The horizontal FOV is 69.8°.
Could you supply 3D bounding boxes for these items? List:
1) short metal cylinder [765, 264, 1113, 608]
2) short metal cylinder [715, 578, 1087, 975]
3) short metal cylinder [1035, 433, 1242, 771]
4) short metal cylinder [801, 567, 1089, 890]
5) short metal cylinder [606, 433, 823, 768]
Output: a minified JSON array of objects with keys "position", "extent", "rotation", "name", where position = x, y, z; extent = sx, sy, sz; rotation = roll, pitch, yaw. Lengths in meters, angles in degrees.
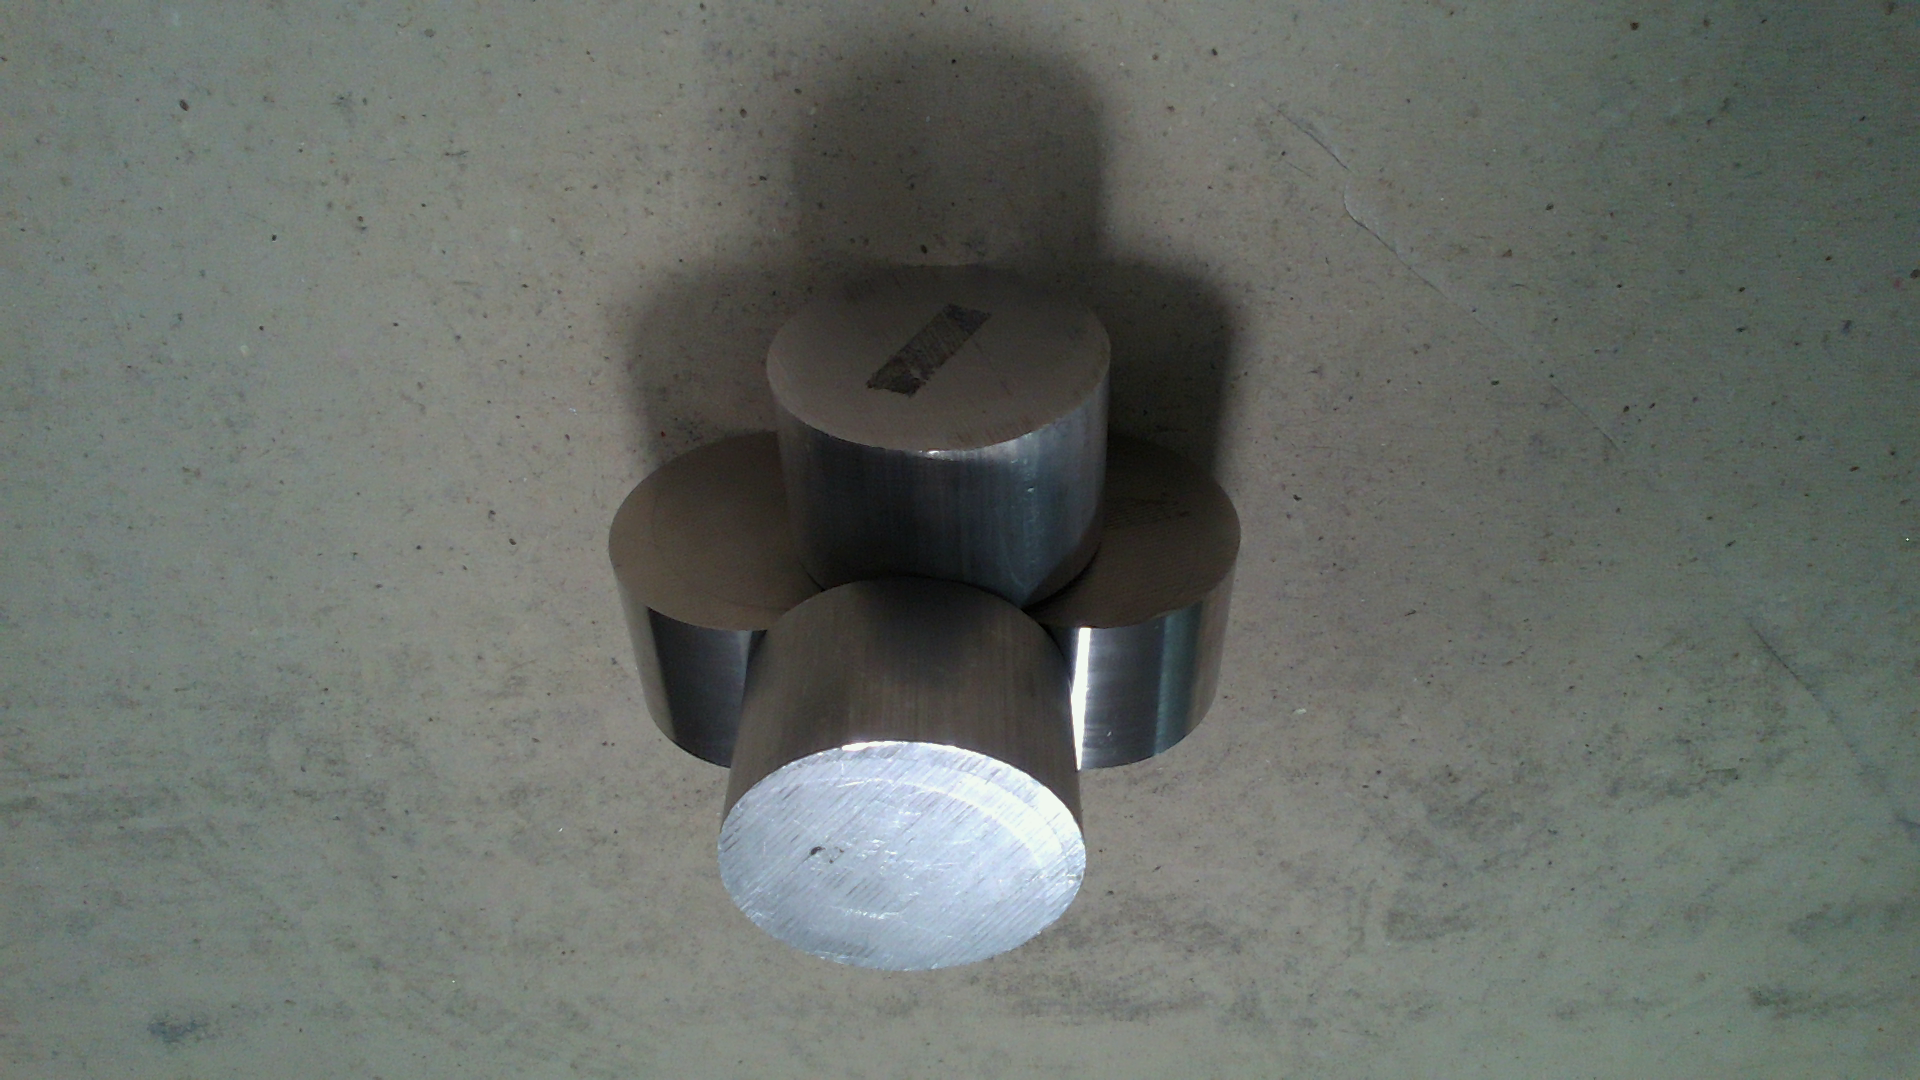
[{"position":[-0.004,-0.025,0.333],"extent":[0.080,0.080,0.050],"rotation":[-1,130,1],"name":"short metal cylinder"},{"position":[-0.013,0.055,0.316],"extent":[0.080,0.050,0.080],"rotation":[0,130,0],"name":"short metal cylinder"},{"position":[0.032,0.014,0.367],"extent":[0.080,0.080,0.050],"rotation":[0,130,0],"name":"short metal cylinder"},{"position":[-0.004,0.053,0.399],"extent":[0.080,0.080,0.050],"rotation":[0,130,0],"name":"short metal cylinder"},{"position":[-0.049,0.015,0.367],"extent":[0.080,0.080,0.050],"rotation":[-1,130,1],"name":"short metal cylinder"}]
